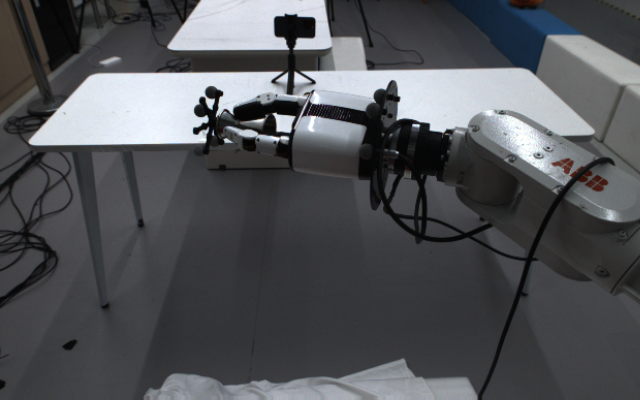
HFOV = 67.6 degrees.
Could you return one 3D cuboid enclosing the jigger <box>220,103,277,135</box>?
[{"bbox_3d":[-0.092,-0.099,0.641,0.071,0.043,0.043,11,36,15],"label":"jigger"}]
